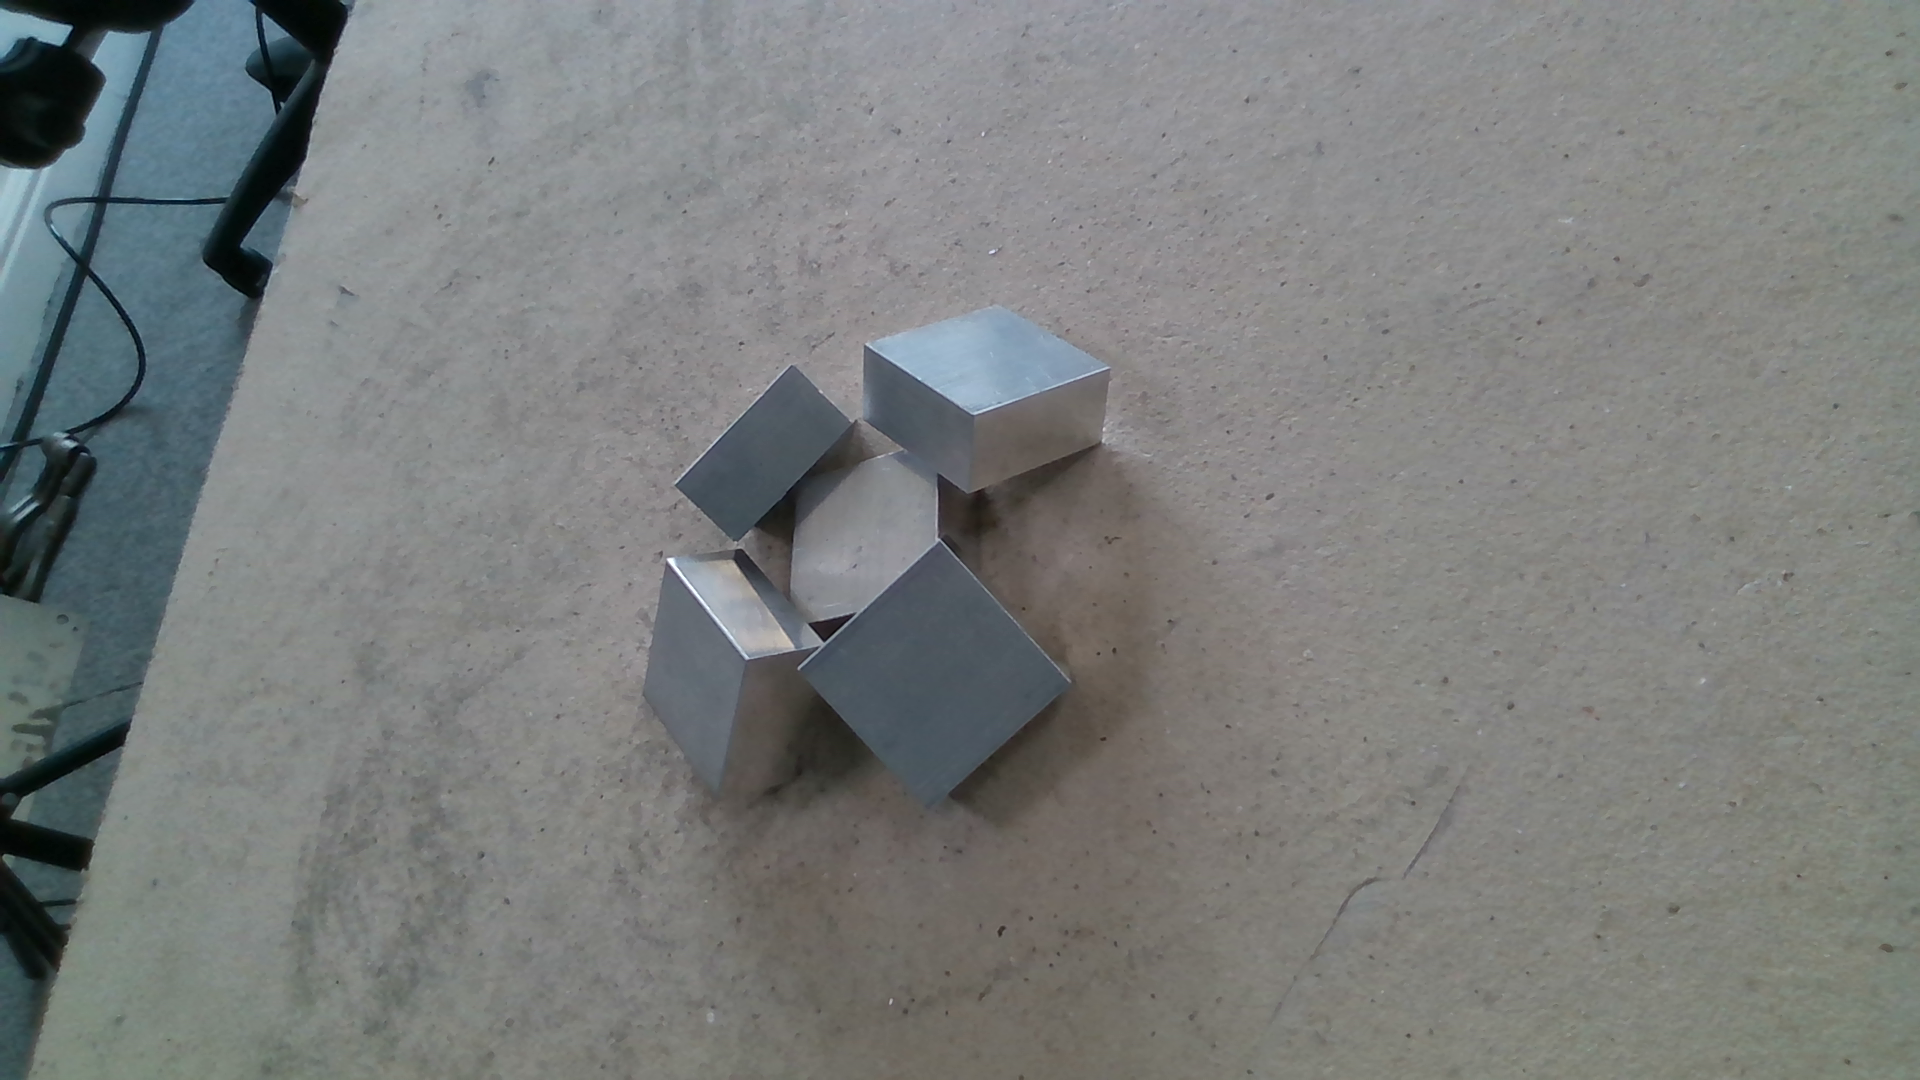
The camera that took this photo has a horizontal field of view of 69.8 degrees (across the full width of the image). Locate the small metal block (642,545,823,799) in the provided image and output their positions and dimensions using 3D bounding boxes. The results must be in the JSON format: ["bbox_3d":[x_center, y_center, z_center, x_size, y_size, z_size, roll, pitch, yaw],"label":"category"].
[{"bbox_3d":[-0.067,0.037,0.398,0.050,0.025,0.050,43,129,39],"label":"small metal block"}]

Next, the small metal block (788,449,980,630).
[{"bbox_3d":[-0.022,0.003,0.405,0.050,0.025,0.050,-15,60,25],"label":"small metal block"}]

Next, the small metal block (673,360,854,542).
[{"bbox_3d":[-0.059,-0.029,0.427,0.050,0.025,0.050,-45,7,3],"label":"small metal block"}]

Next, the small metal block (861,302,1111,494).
[{"bbox_3d":[0.007,-0.042,0.395,0.050,0.025,0.050,-22,42,-33],"label":"small metal block"}]

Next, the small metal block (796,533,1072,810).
[{"bbox_3d":[-0.006,0.033,0.363,0.050,0.025,0.050,-43,92,6],"label":"small metal block"}]
